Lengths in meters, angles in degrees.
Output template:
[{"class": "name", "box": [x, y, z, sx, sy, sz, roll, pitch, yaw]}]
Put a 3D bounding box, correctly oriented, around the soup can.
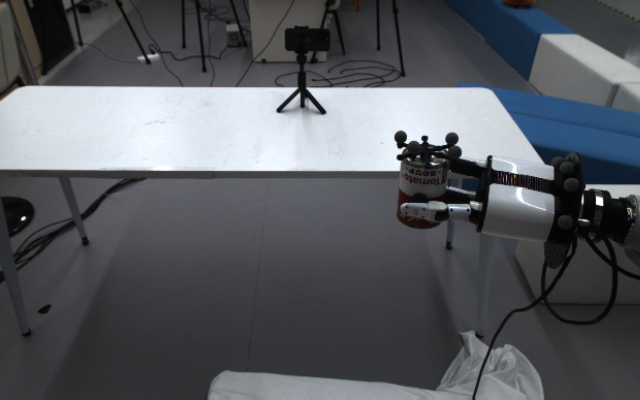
[{"class": "soup can", "box": [0.147, -0.021, 0.684, 0.067, 0.101, 0.067, -2, 34, 1]}]
